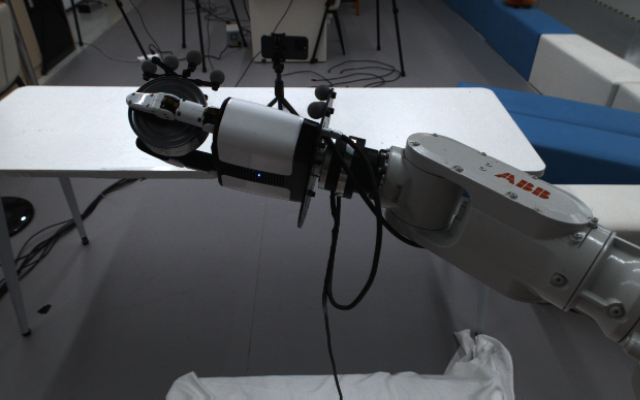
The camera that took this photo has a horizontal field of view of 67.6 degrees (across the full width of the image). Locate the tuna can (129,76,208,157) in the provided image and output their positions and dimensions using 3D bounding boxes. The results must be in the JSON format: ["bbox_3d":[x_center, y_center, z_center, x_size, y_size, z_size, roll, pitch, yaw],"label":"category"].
[{"bbox_3d":[-0.167,-0.093,0.545,0.085,0.034,0.085,1,73,-2],"label":"tuna can"}]
